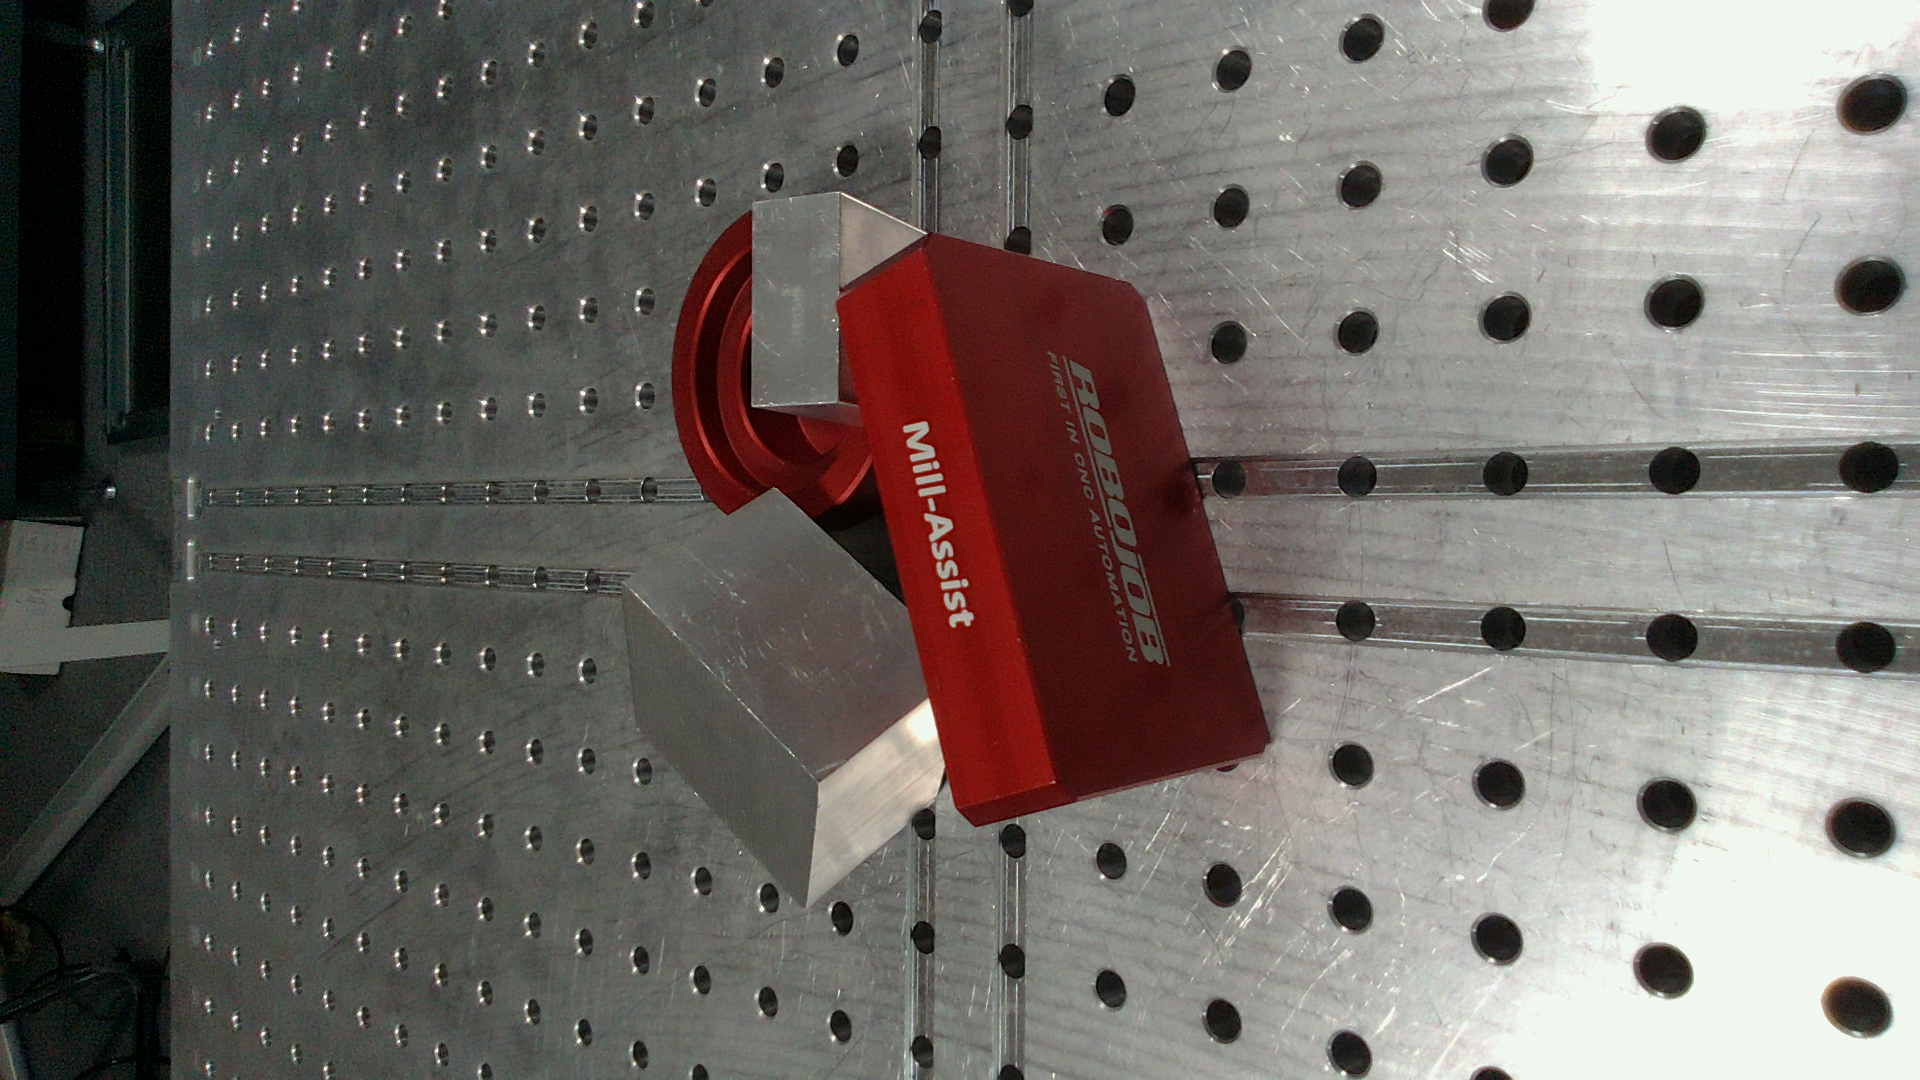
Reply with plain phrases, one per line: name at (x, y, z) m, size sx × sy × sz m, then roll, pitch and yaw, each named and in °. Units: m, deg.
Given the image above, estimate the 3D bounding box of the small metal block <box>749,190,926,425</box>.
small metal block at (-0.029, -0.057, 0.352) m, size 0.025 × 0.050 × 0.050 m, roll 0°, pitch 89°, yaw 26°

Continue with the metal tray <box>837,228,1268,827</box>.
metal tray at (0.025, -0.004, 0.335) m, size 0.030 × 0.090 × 0.130 m, roll -23°, pitch 76°, yaw 38°

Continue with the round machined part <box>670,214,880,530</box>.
round machined part at (-0.042, -0.052, 0.422) m, size 0.098 × 0.042 × 0.098 m, roll 0°, pitch 90°, yaw 40°

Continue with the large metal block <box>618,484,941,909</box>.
large metal block at (-0.050, 0.045, 0.394) m, size 0.080 × 0.050 × 0.080 m, roll 41°, pitch 148°, yaw 21°

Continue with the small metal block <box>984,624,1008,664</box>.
small metal block at (0.020, 0.029, 0.374) m, size 0.050 × 0.025 × 0.050 m, roll 19°, pitch 107°, yaw 50°
